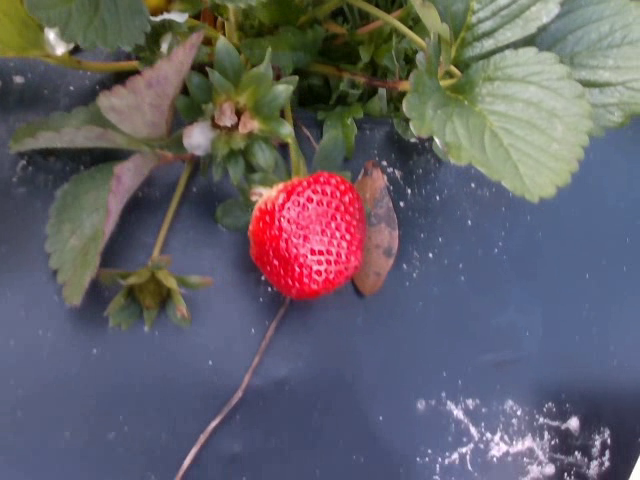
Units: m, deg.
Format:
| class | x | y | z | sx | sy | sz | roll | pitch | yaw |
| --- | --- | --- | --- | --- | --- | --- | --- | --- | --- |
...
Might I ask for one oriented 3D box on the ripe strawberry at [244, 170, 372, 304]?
| class | x | y | z | sx | sy | sz | roll | pitch | yaw |
| --- | --- | --- | --- | --- | --- | --- | --- | --- | --- |
| ripe strawberry | -0.004 | 0.002 | 0.186 | 0.050 | 0.049 | 0.053 | 0 | 38 | -17 |
